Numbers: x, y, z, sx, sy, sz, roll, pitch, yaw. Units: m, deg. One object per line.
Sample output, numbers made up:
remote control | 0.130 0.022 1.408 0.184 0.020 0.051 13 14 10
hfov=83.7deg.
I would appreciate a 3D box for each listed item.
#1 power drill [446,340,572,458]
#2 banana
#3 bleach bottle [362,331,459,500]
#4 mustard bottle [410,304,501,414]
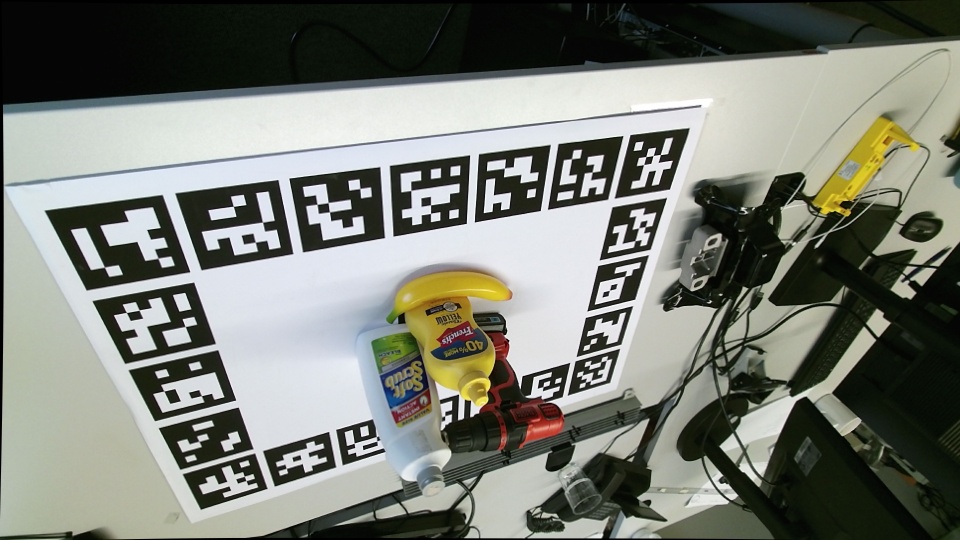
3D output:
power drill | 0.016 0.182 0.766 0.185 0.186 0.057 0 124 -26
banana | -0.038 0.047 0.780 0.198 0.039 0.074 -8 125 -25
bleach bottle | -0.084 0.194 0.718 0.103 0.249 0.068 -9 132 -22
mustard bottle | -0.025 0.121 0.727 0.096 0.191 0.058 -11 127 -20
